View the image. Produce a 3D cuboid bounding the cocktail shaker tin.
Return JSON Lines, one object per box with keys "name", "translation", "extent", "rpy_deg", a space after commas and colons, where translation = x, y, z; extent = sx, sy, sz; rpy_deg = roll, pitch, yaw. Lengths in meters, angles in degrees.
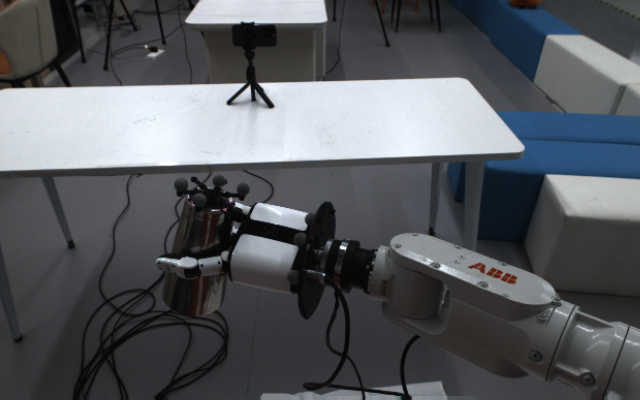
{"name": "cocktail shaker tin", "translation": [-0.165, 0.068, 0.682], "extent": [0.093, 0.170, 0.093], "rpy_deg": [12, 29, -7]}
